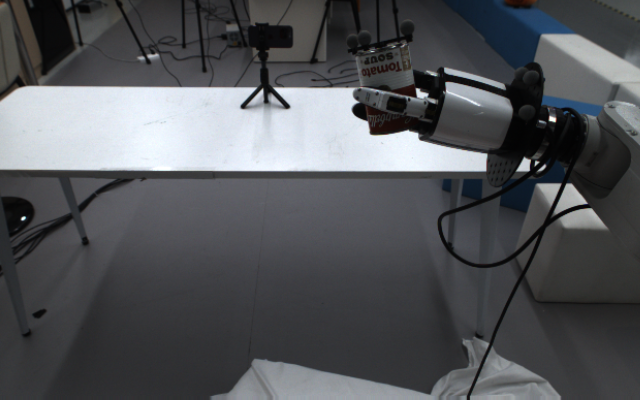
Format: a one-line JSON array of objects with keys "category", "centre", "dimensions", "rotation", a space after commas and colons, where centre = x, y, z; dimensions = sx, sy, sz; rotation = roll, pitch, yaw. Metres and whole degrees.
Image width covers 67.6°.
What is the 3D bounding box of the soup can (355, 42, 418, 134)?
[{"category": "soup can", "centre": [0.087, -0.140, 0.610], "dimensions": [0.067, 0.101, 0.067], "rotation": [-12, 17, 4]}]
